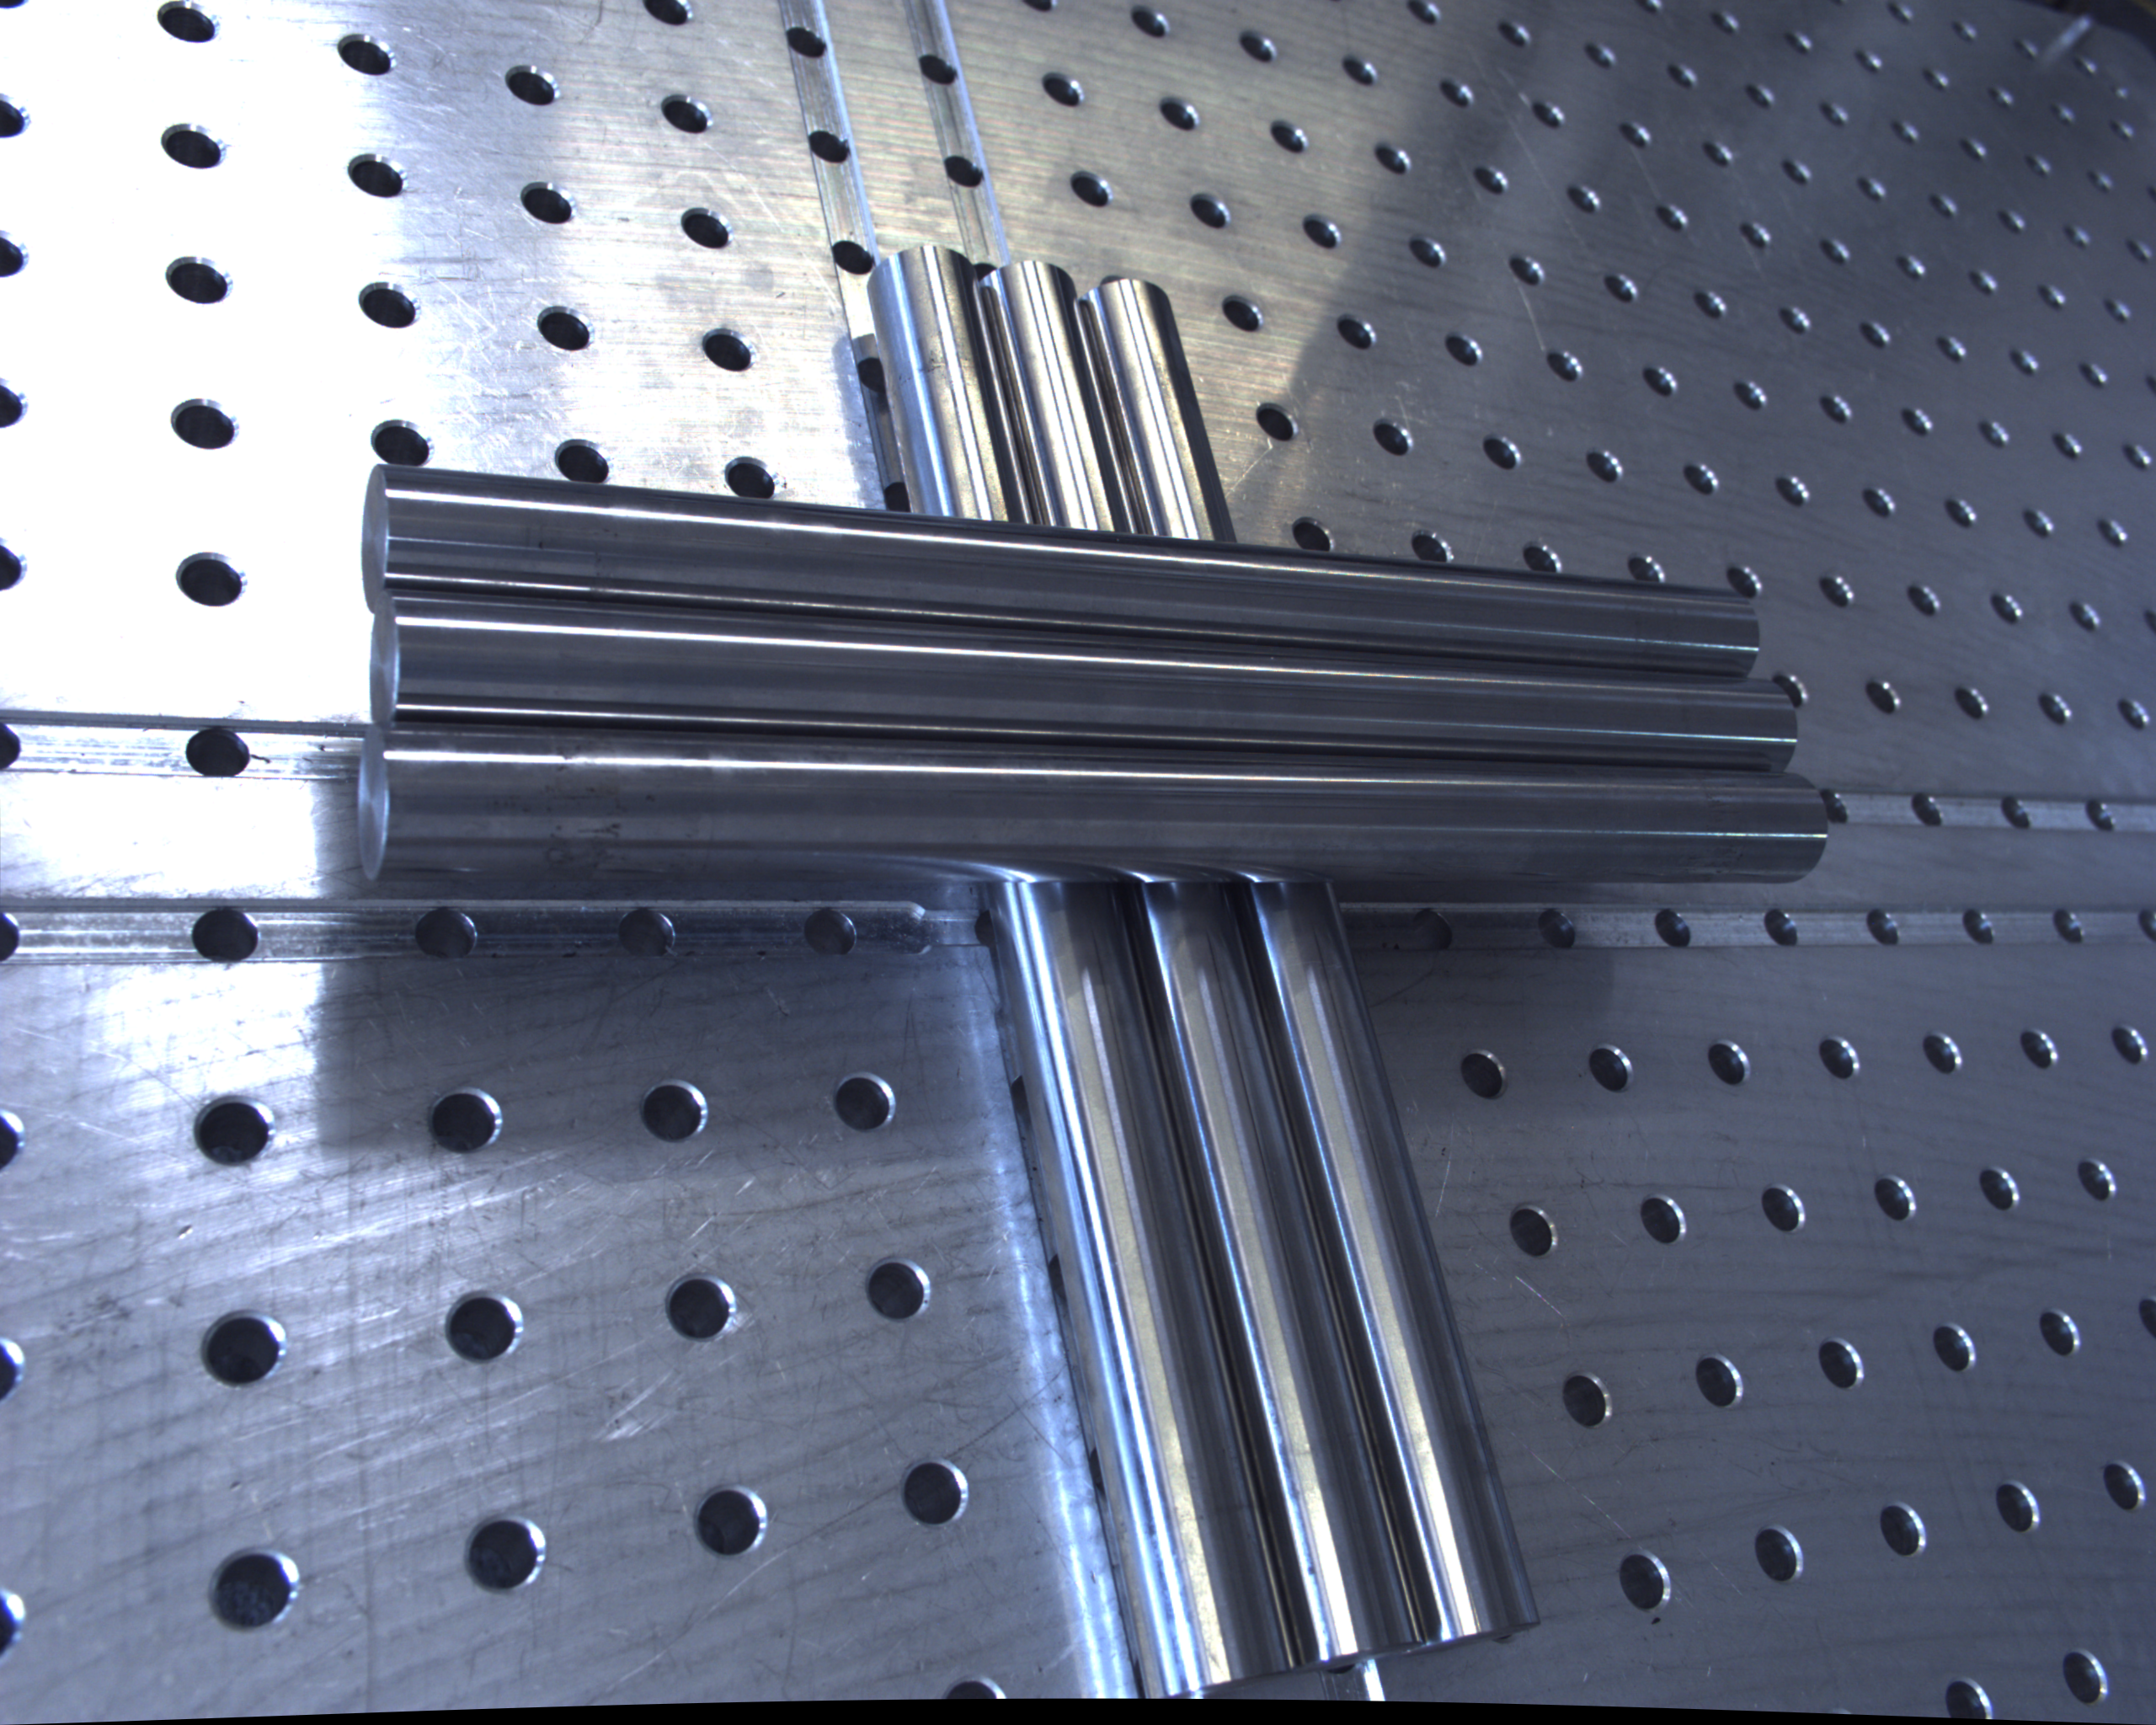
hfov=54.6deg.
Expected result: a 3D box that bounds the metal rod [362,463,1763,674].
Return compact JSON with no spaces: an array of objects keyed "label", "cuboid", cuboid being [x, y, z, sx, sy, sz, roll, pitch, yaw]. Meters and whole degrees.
[{"label":"metal rod","cuboid":[0.017,-0.053,0.417,0.302,0.025,0.025,0,62,-28]}]

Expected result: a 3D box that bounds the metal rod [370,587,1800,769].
[{"label":"metal rod","cuboid":[0.022,-0.031,0.406,0.302,0.025,0.025,0,62,-28]}]

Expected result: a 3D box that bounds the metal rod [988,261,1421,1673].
[{"label":"metal rod","cuboid":[0.016,0.002,0.415,0.025,0.025,0.299,2,61,-27]}]

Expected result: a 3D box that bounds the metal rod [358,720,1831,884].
[{"label":"metal rod","cuboid":[0.024,-0.009,0.394,0.302,0.025,0.025,0,62,-28]}]

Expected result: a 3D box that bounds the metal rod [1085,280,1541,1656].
[{"label":"metal rod","cuboid":[0.039,0.003,0.426,0.025,0.025,0.299,2,61,-27]}]

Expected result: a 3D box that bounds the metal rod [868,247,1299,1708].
[{"label":"metal rod","cuboid":[-0.005,0.003,0.403,0.025,0.025,0.299,2,61,-27]}]
